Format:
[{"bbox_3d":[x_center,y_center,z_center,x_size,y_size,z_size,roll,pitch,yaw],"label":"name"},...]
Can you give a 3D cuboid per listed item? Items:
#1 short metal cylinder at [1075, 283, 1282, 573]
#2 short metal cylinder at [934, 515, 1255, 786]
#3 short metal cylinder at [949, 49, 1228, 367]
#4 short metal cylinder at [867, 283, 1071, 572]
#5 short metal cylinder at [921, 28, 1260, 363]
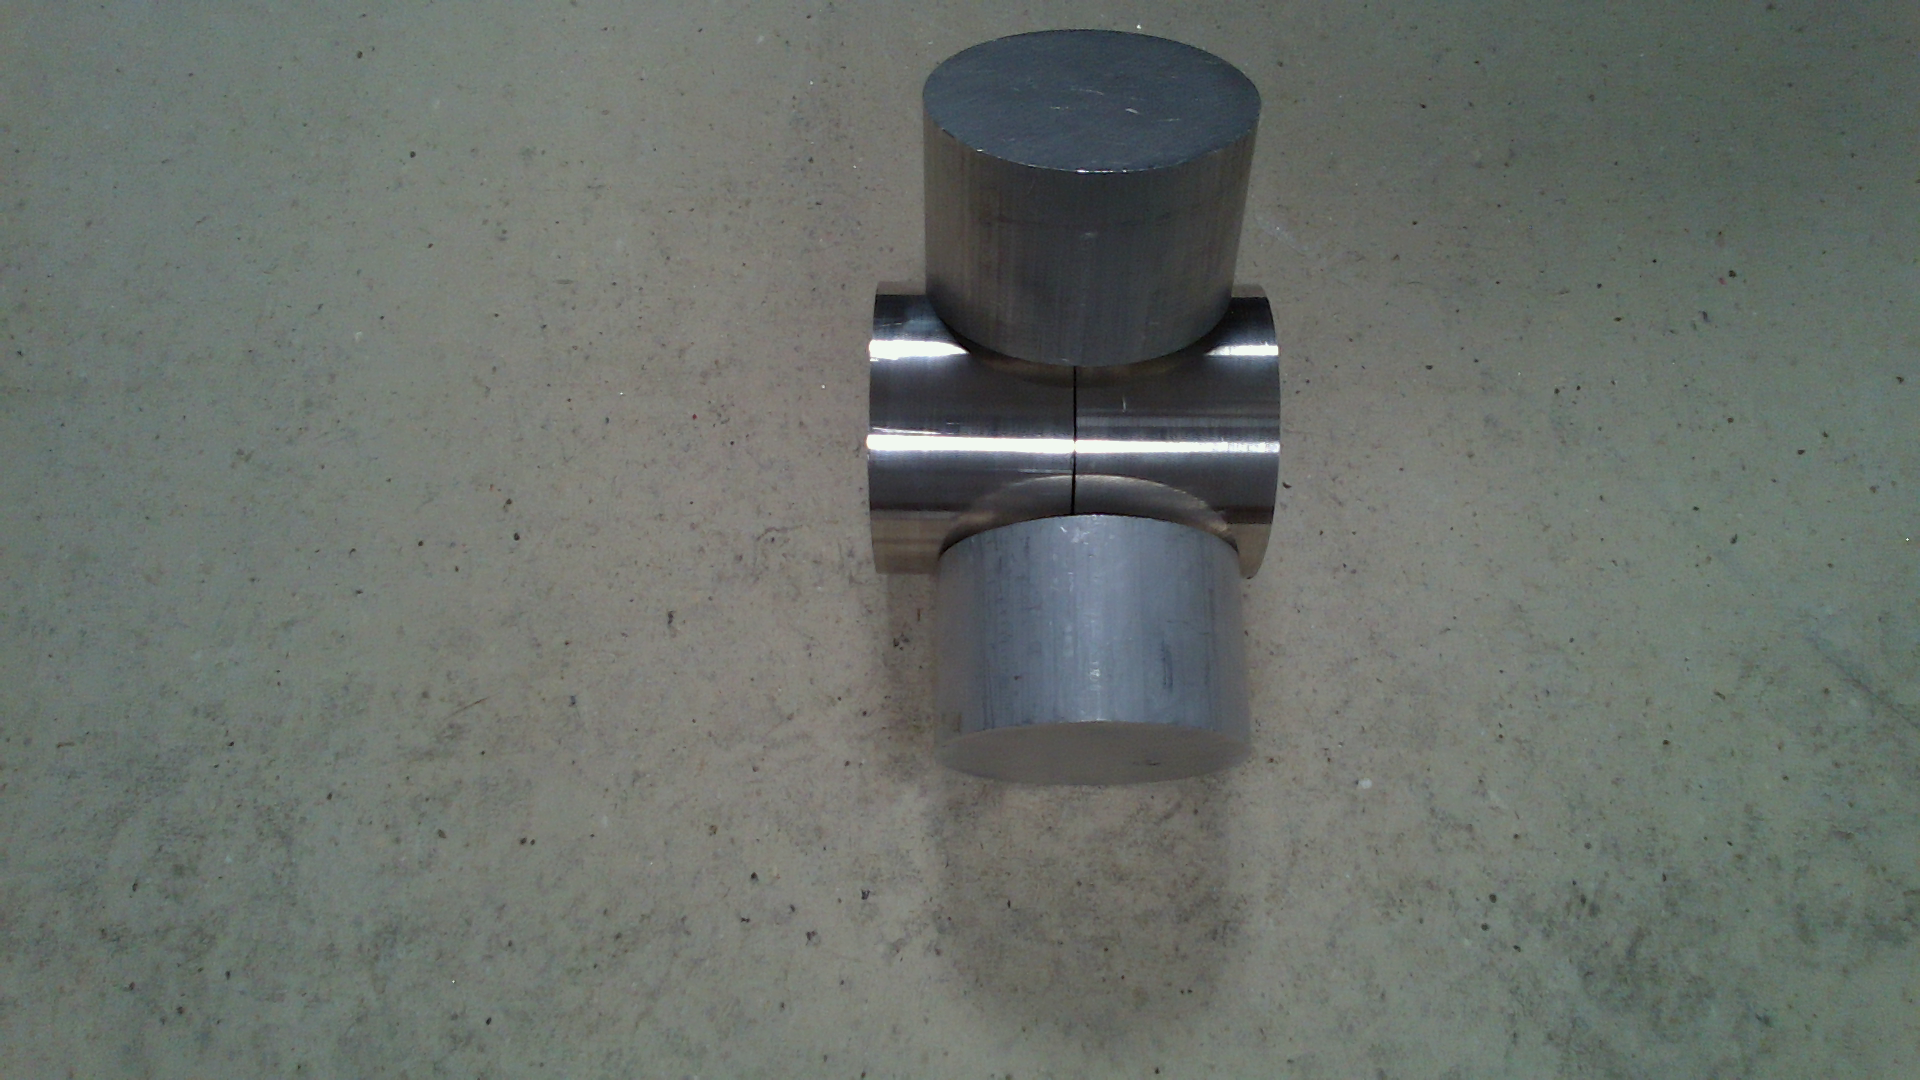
[{"bbox_3d":[0.055,-0.030,0.376,0.050,0.080,0.080,0,70,1],"label":"short metal cylinder"},{"bbox_3d":[0.033,0.031,0.354,0.080,0.080,0.050,0,70,0],"label":"short metal cylinder"},{"bbox_3d":[0.037,-0.100,0.419,0.080,0.050,0.080,0,70,0],"label":"short metal cylinder"},{"bbox_3d":[0.003,-0.030,0.377,0.050,0.080,0.080,1,70,0],"label":"short metal cylinder"},{"bbox_3d":[0.031,-0.088,0.343,0.080,0.050,0.080,0,41,0],"label":"short metal cylinder"}]
